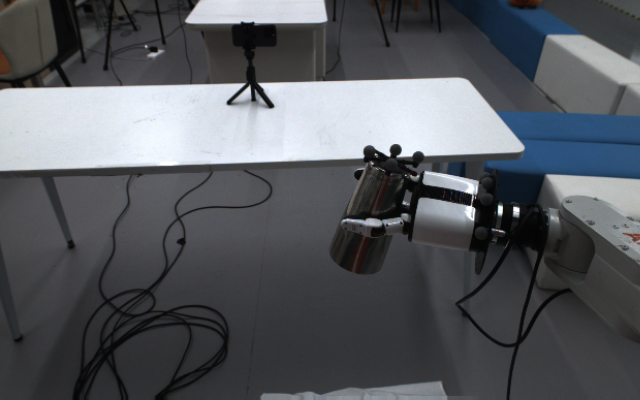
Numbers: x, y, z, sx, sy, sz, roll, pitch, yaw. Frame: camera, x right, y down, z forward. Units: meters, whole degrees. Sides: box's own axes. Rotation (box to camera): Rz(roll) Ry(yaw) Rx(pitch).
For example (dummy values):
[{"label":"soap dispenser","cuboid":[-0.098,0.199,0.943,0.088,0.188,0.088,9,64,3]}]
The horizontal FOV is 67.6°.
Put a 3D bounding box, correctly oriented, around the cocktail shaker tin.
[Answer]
[{"label":"cocktail shaker tin","cuboid":[0.082,0.018,0.748,0.093,0.170,0.093,12,29,-7]}]
